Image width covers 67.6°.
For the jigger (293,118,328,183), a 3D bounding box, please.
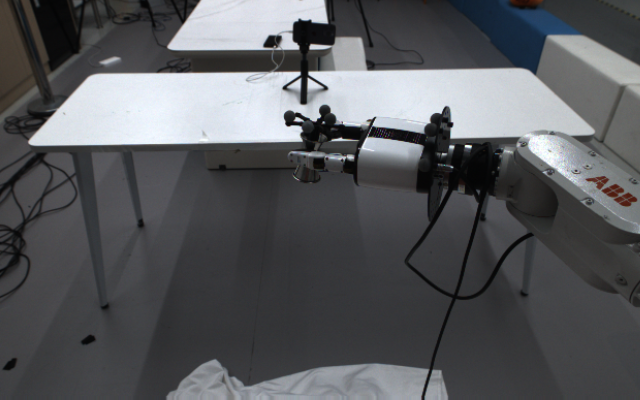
[{"bbox_3d":[-0.016,-0.065,0.723,0.043,0.071,0.043,9,30,-5],"label":"jigger"}]
